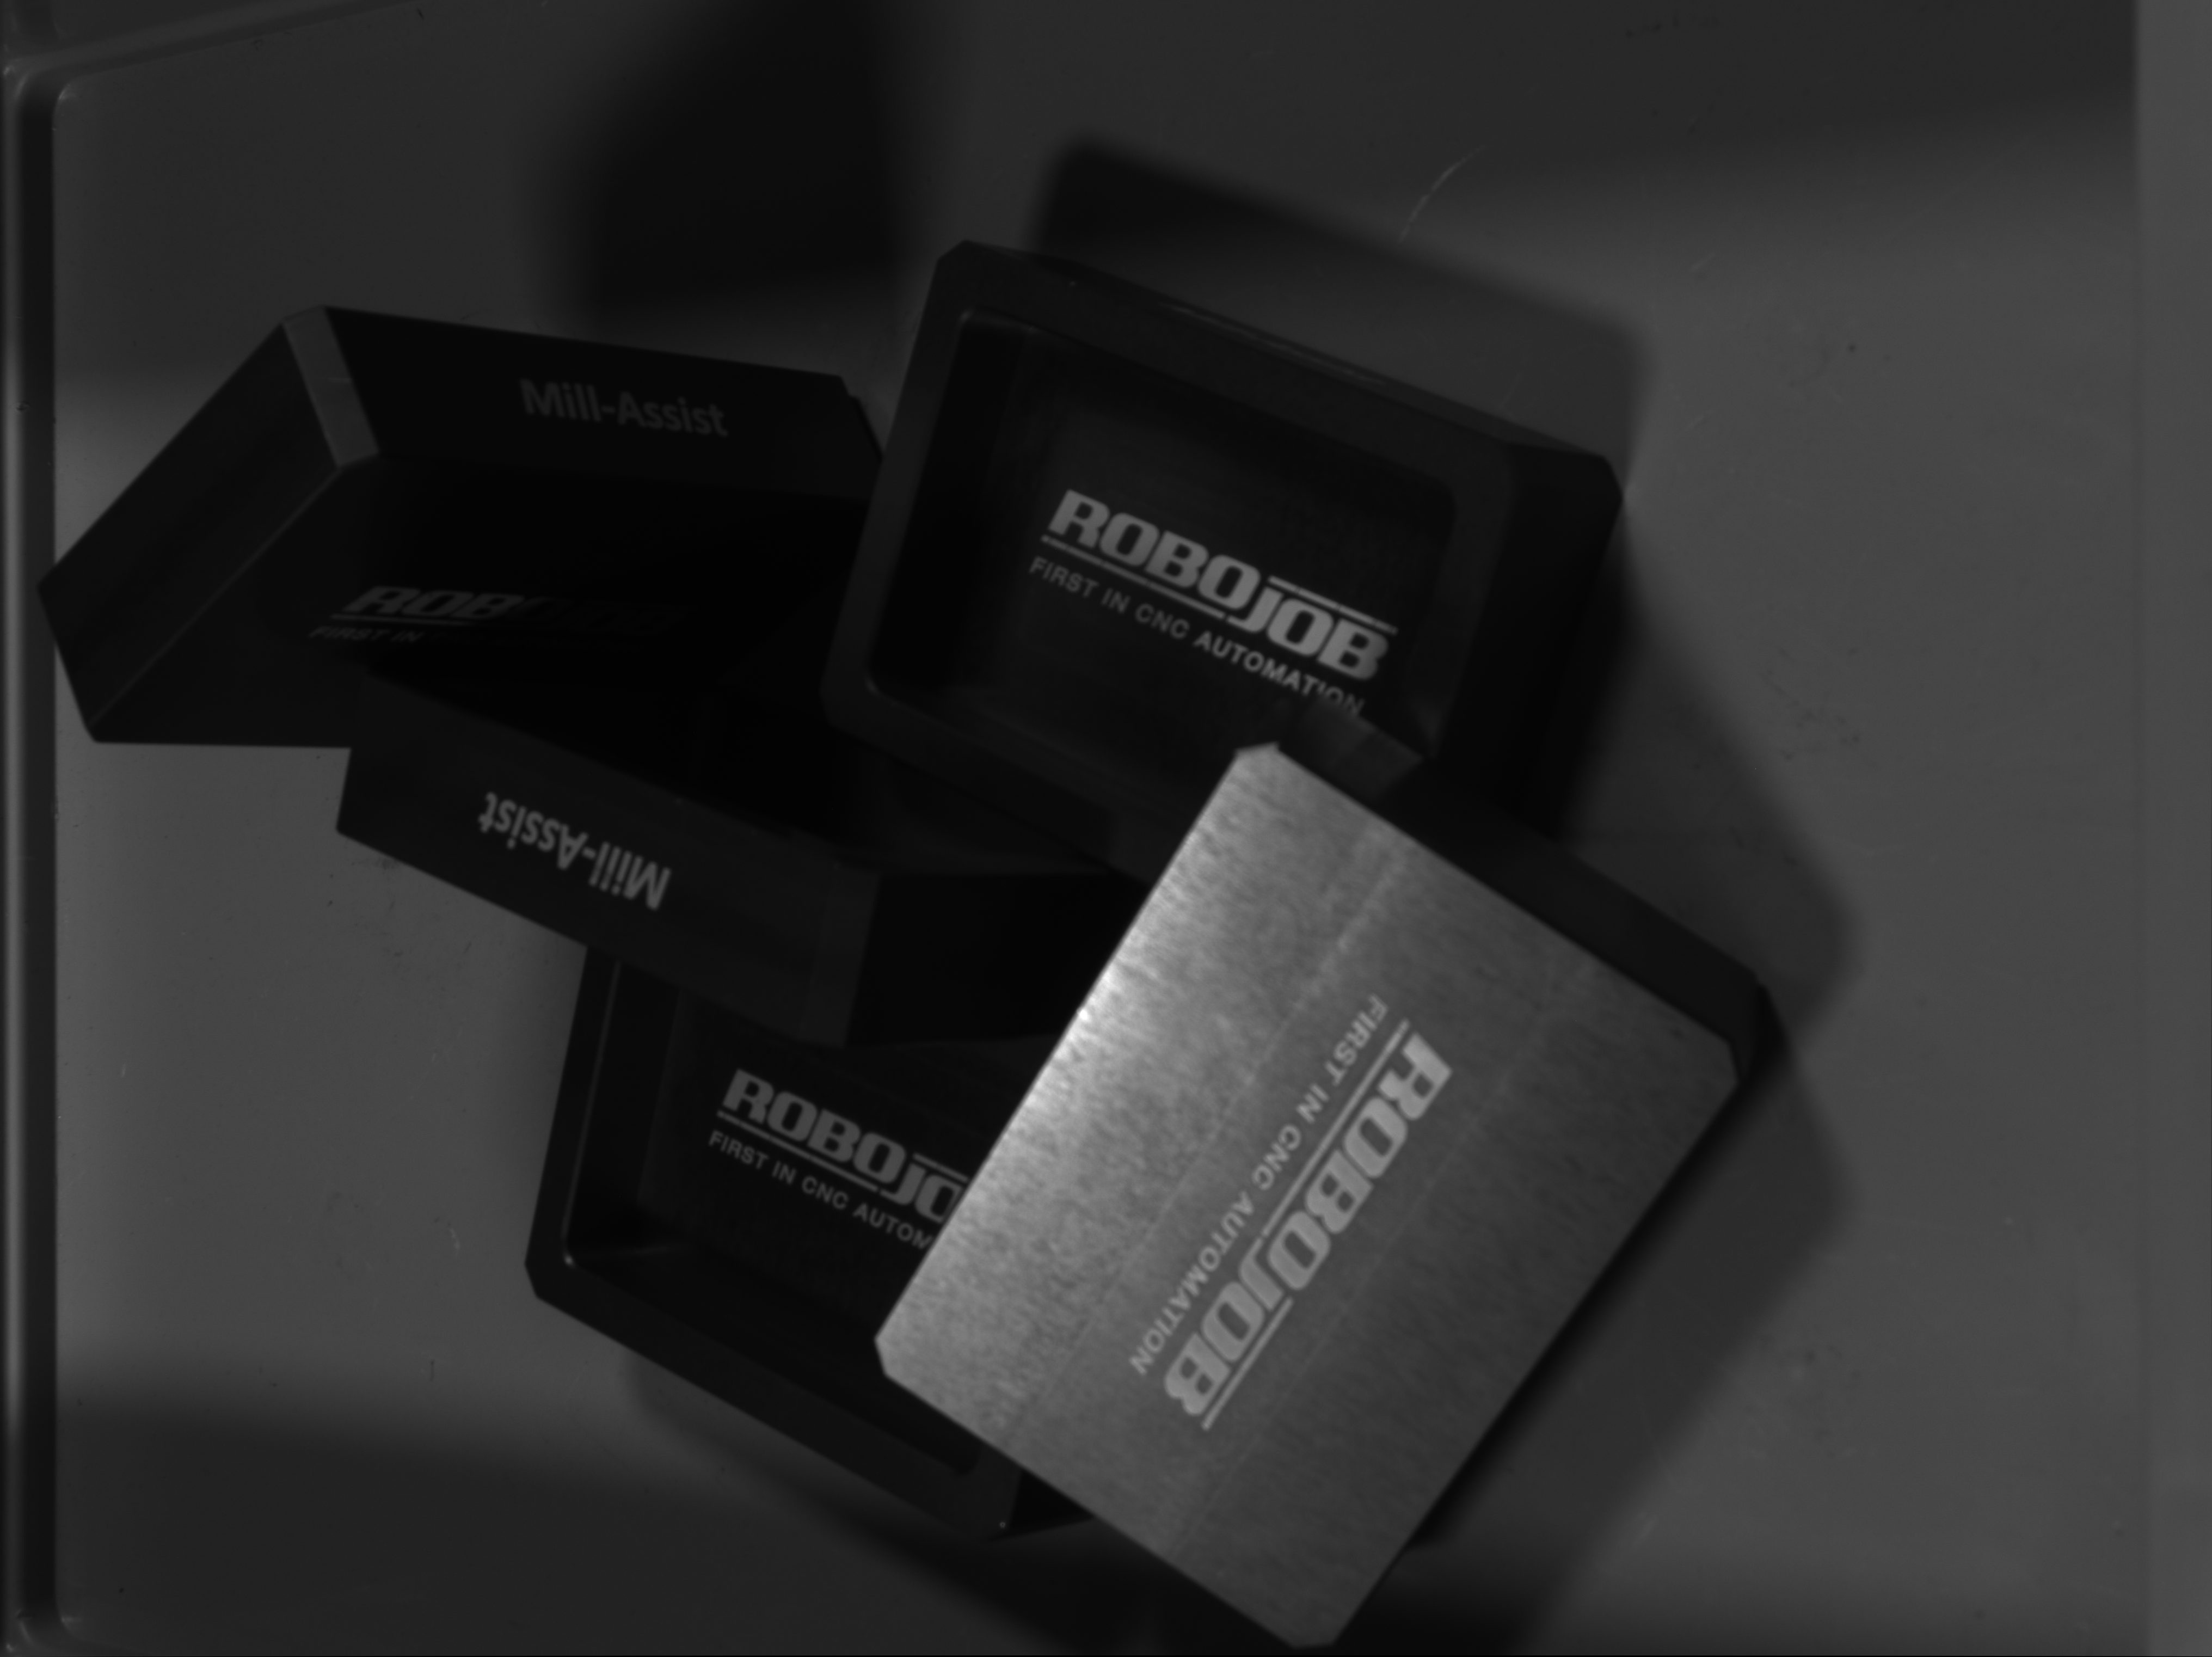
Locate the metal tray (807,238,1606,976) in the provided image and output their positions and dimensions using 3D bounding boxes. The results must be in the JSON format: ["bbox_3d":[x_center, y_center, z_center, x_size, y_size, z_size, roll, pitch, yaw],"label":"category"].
[{"bbox_3d":[0.013,-0.039,0.621,0.130,0.030,0.090,26,106,36],"label":"metal tray"}]

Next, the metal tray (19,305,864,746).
[{"bbox_3d":[-0.115,-0.050,0.660,0.090,0.130,0.030,-37,67,34],"label":"metal tray"}]

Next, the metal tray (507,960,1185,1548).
[{"bbox_3d":[-0.050,0.064,0.670,0.130,0.030,0.090,20,103,38],"label":"metal tray"}]

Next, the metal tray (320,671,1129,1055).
[{"bbox_3d":[-0.063,0.004,0.643,0.130,0.090,0.030,20,102,38],"label":"metal tray"}]

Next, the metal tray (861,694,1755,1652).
[{"bbox_3d":[0.030,0.056,0.581,0.090,0.030,0.130,33,113,4],"label":"metal tray"}]
